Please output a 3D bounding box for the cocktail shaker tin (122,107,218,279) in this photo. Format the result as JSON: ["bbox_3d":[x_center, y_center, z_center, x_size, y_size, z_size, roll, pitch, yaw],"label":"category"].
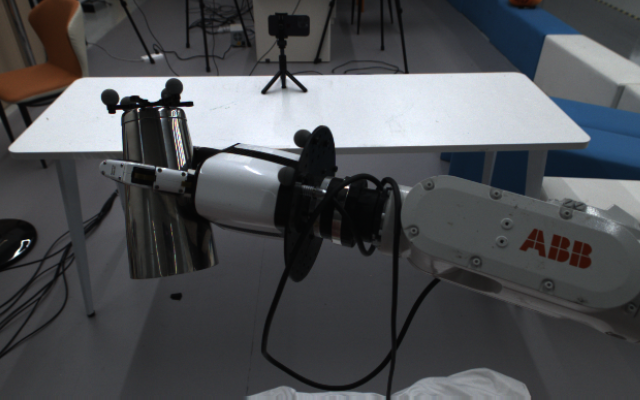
[{"bbox_3d":[-0.166,-0.008,0.519,0.093,0.170,0.093,-9,1,0],"label":"cocktail shaker tin"}]
